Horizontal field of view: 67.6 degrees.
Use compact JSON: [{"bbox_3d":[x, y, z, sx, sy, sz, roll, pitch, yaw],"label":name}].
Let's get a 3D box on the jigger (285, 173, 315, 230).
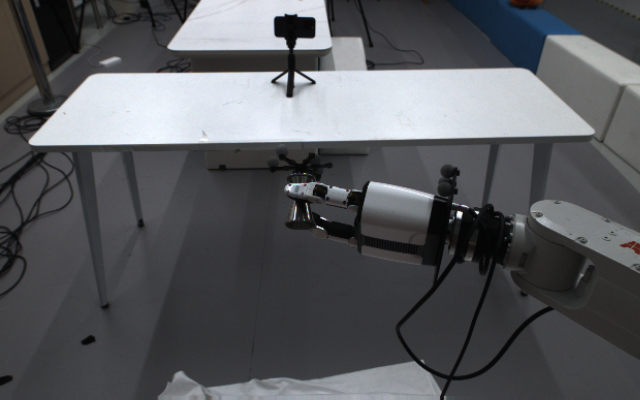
[{"bbox_3d":[-0.026,0.001,0.655,0.043,0.043,0.071,1,70,-2],"label":"jigger"}]
